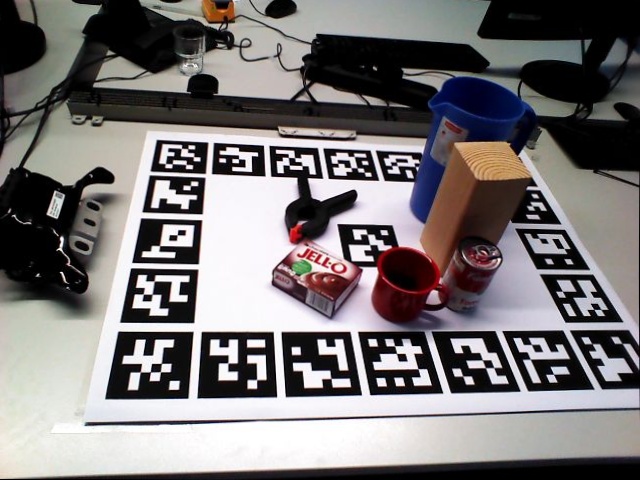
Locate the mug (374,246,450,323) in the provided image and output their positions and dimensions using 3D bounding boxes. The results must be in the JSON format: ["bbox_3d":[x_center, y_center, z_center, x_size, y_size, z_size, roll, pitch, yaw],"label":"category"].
[{"bbox_3d":[0.135,0.072,0.756,0.117,0.082,0.092,27,45,19],"label":"mug"}]

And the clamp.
[{"bbox_3d":[-0.002,-0.057,0.909,0.122,0.037,0.164,27,47,8],"label":"clamp"}]

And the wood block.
[{"bbox_3d":[0.244,-0.047,0.802,0.090,0.207,0.090,2,44,-12],"label":"wood block"}]

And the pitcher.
[{"bbox_3d":[0.261,-0.142,0.879,0.189,0.243,0.132,-1,43,-6],"label":"pitcher"}]

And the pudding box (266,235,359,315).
[{"bbox_3d":[-0.011,0.052,0.790,0.114,0.039,0.089,28,51,20],"label":"pudding box"}]

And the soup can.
[{"bbox_3d":[0.227,0.053,0.773,0.068,0.102,0.067,4,47,-5],"label":"soup can"}]
